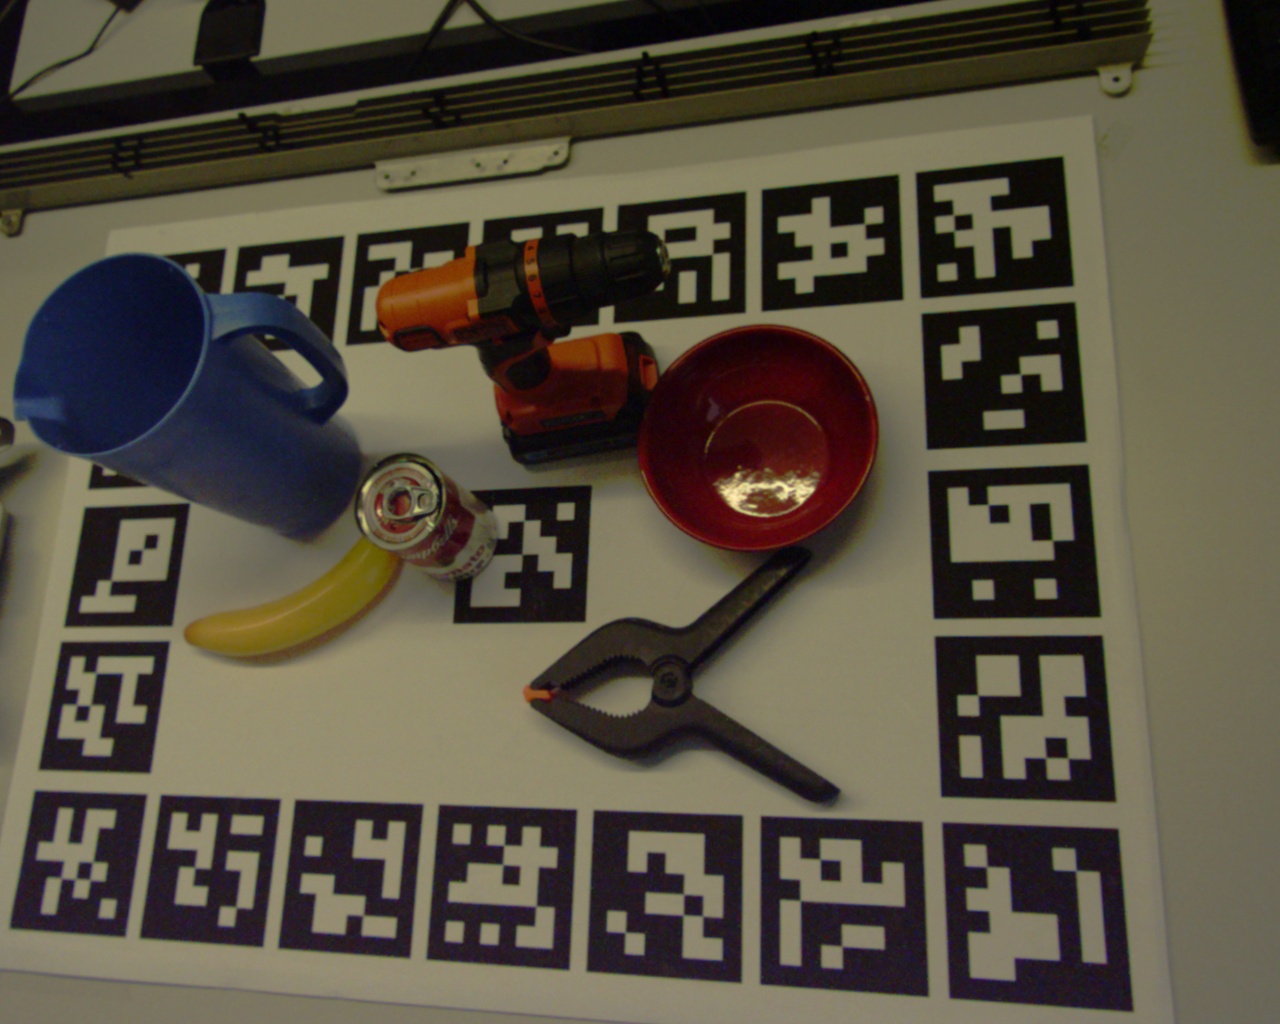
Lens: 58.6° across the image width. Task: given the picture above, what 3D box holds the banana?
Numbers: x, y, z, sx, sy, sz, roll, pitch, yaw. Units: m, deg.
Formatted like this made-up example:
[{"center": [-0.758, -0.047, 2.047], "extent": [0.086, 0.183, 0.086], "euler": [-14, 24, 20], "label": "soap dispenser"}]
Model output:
[{"center": [-0.271, 0.063, 0.884], "extent": [0.198, 0.038, 0.075], "euler": [-27, 61, 6], "label": "banana"}]

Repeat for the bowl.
[{"center": [0.069, -0.041, 0.804], "extent": [0.163, 0.055, 0.162], "euler": [-4, 75, 15], "label": "bowl"}]

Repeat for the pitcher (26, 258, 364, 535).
[{"center": [-0.290, -0.072, 0.816], "extent": [0.189, 0.240, 0.134], "euler": [-26, 67, 7], "label": "pitcher"}]

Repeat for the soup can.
[{"center": [-0.157, 0.001, 0.834], "extent": [0.068, 0.101, 0.068], "euler": [-6, 65, 13], "label": "soup can"}]

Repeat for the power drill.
[{"center": [-0.056, -0.114, 0.770], "extent": [0.186, 0.185, 0.057], "euler": [-7, 74, 13], "label": "power drill"}]

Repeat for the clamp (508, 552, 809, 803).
[{"center": [0.009, 0.115, 0.781], "extent": [0.204, 0.036, 0.165], "euler": [-5, 78, 14], "label": "clamp"}]
